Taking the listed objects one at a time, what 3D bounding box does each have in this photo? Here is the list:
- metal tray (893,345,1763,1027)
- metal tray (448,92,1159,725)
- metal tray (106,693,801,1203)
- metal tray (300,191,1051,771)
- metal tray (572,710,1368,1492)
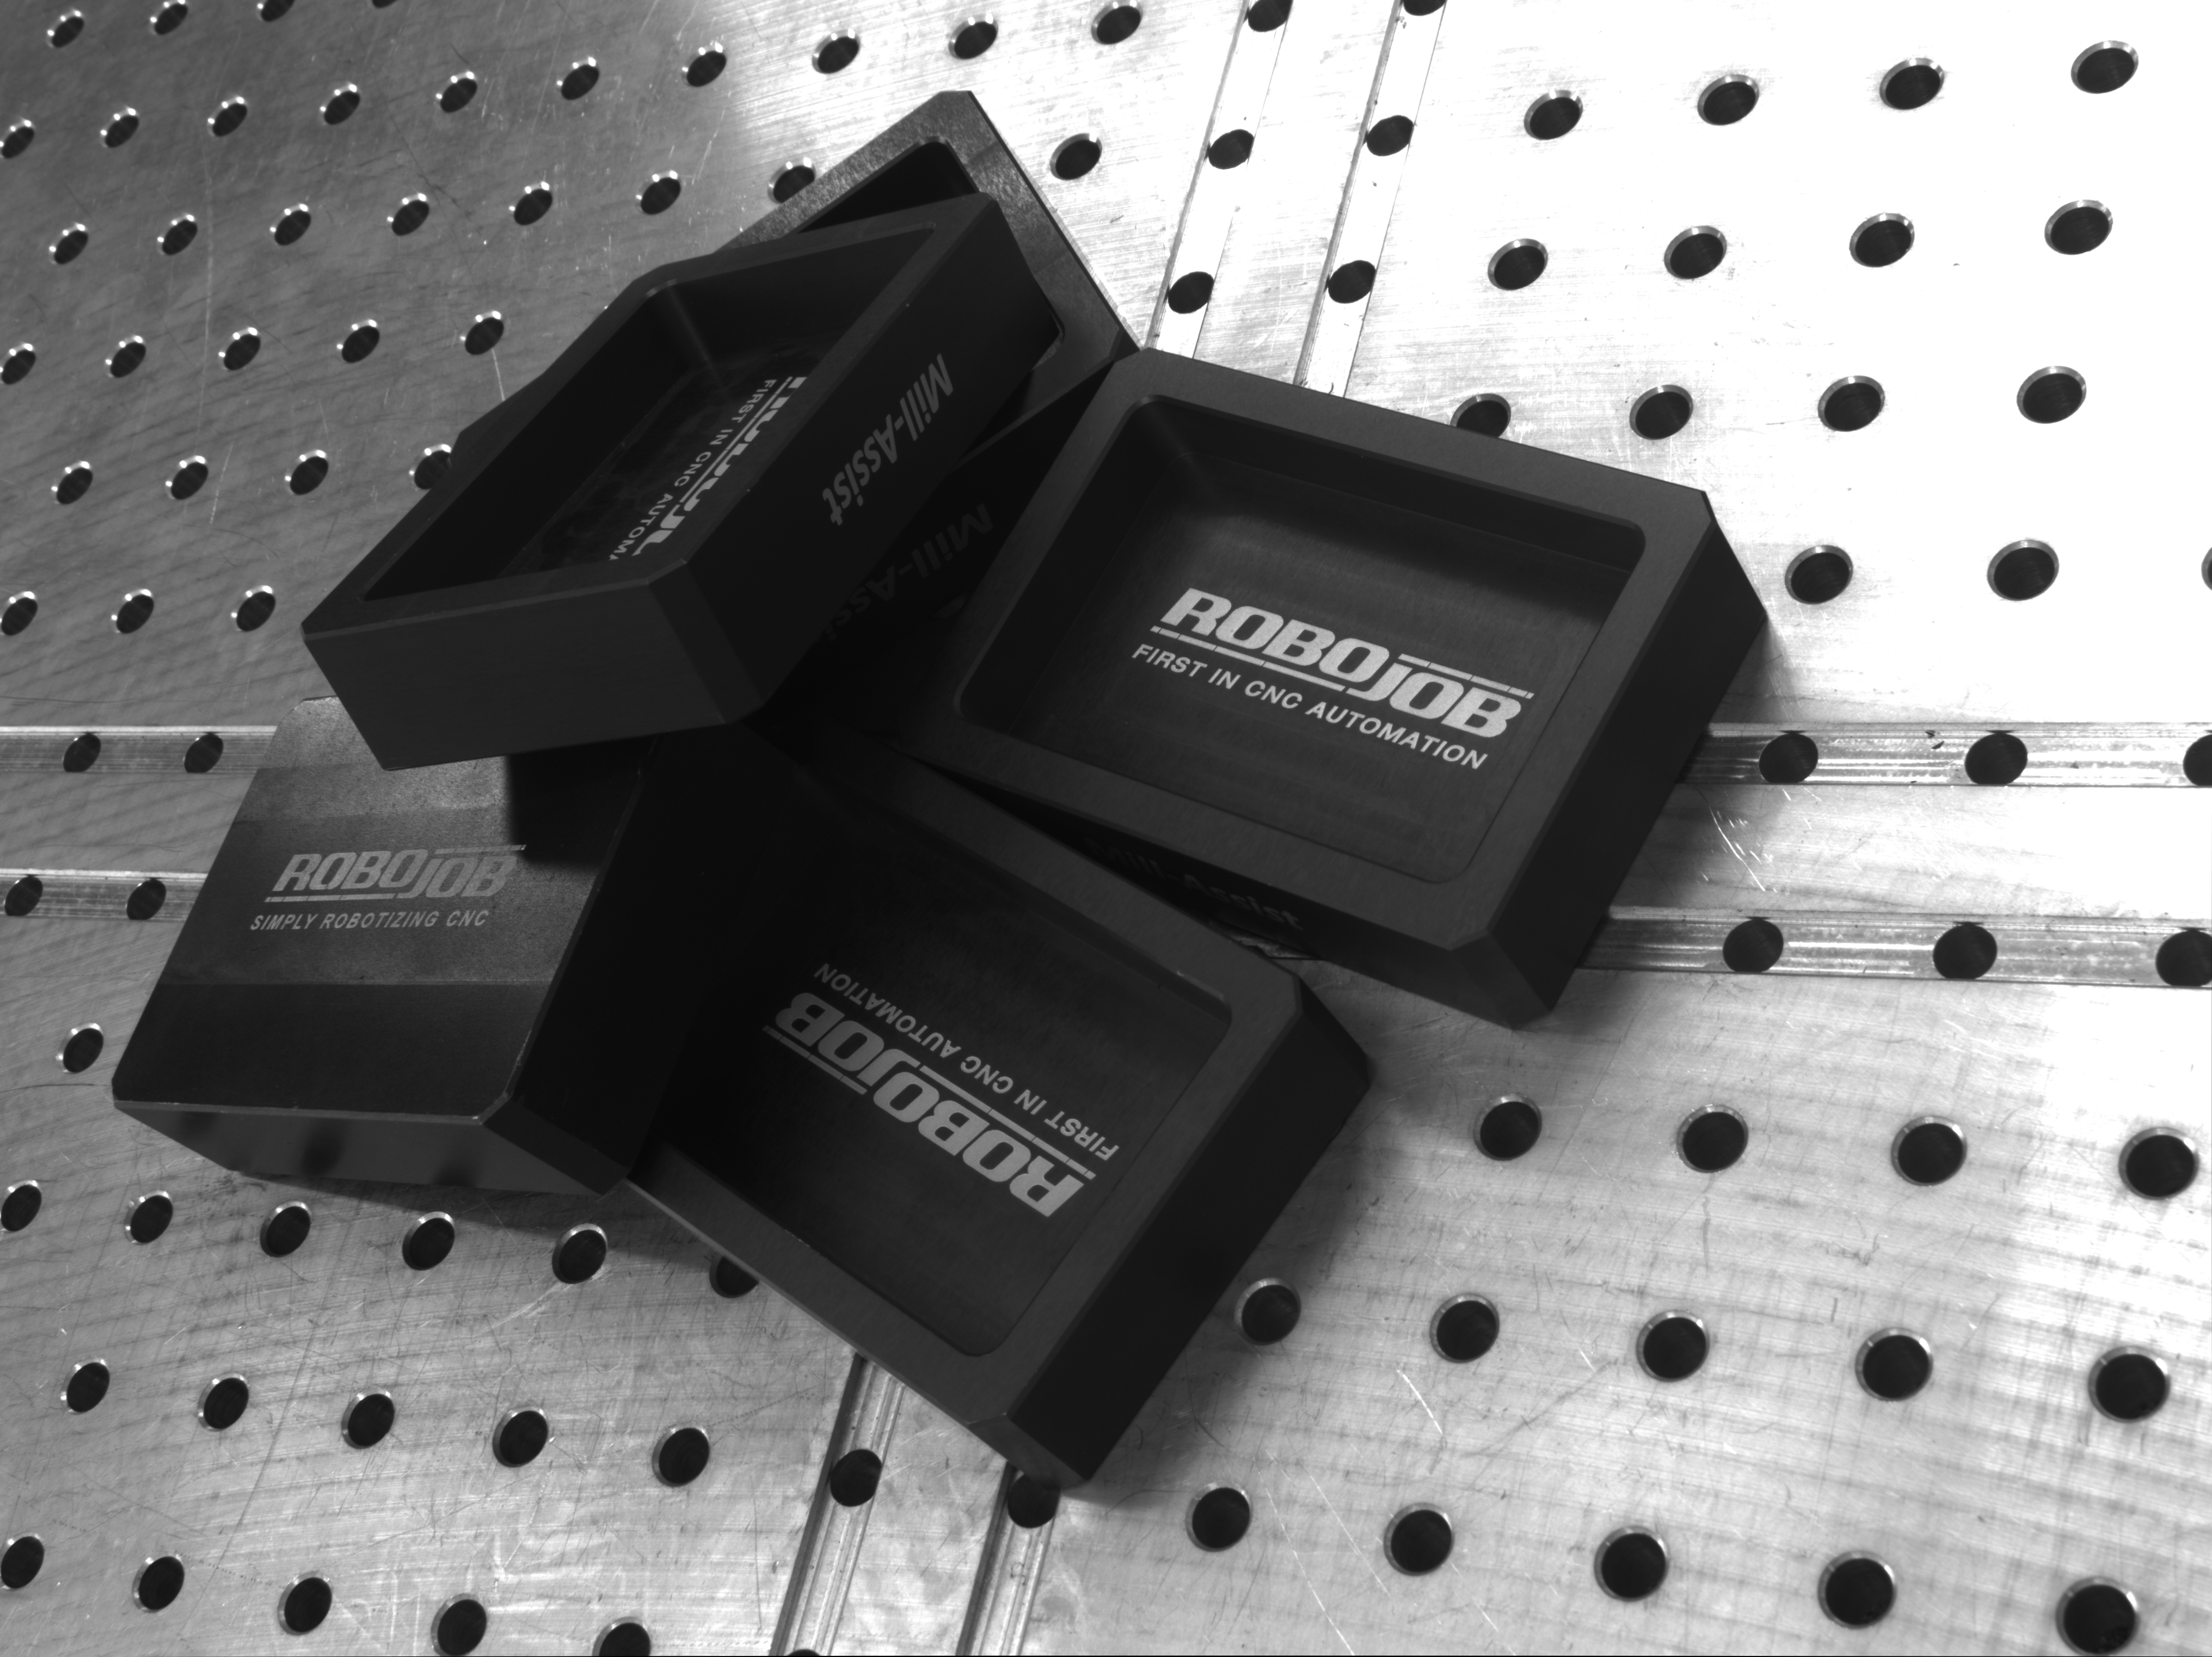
[{"bbox_3d":[0.037,-0.028,0.641,0.130,0.030,0.090,20,73,36],"label":"metal tray"},{"bbox_3d":[-0.059,-0.077,0.724,0.130,0.030,0.090,-34,50,6],"label":"metal tray"},{"bbox_3d":[-0.123,0.019,0.678,0.130,0.030,0.090,-1,61,44],"label":"metal tray"},{"bbox_3d":[-0.076,-0.065,0.671,0.090,0.030,0.130,-6,34,34],"label":"metal tray"},{"bbox_3d":[-0.031,0.044,0.634,0.130,0.030,0.090,28,78,38],"label":"metal tray"}]
